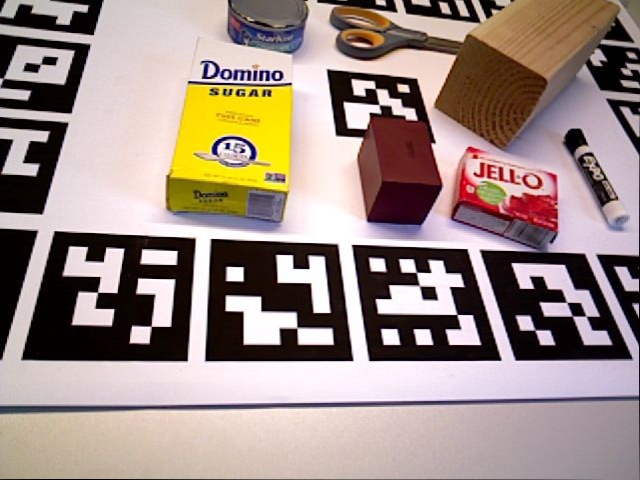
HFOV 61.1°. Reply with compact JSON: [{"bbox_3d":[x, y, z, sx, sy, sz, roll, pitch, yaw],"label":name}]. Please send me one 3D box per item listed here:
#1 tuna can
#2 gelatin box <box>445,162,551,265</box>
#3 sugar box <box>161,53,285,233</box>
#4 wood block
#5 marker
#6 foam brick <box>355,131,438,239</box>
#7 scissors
[{"bbox_3d":[-0.068,-0.227,0.578,0.085,0.034,0.084,5,56,-8],"label":"tuna can"},{"bbox_3d":[0.163,-0.026,0.495,0.089,0.031,0.072,18,55,1],"label":"gelatin box"},{"bbox_3d":[-0.080,-0.090,0.480,0.092,0.046,0.174,6,55,-9],"label":"sugar box"},{"bbox_3d":[0.223,-0.182,0.581,0.090,0.093,0.201,38,56,15],"label":"wood block"},{"bbox_3d":[0.265,-0.052,0.539,0.019,0.020,0.119,3,58,-10],"label":"marker"},{"bbox_3d":[0.063,-0.047,0.470,0.052,0.052,0.077,4,56,-10],"label":"foam brick"},{"bbox_3d":[0.098,-0.219,0.623,0.201,0.016,0.086,8,55,-4],"label":"scissors"}]
